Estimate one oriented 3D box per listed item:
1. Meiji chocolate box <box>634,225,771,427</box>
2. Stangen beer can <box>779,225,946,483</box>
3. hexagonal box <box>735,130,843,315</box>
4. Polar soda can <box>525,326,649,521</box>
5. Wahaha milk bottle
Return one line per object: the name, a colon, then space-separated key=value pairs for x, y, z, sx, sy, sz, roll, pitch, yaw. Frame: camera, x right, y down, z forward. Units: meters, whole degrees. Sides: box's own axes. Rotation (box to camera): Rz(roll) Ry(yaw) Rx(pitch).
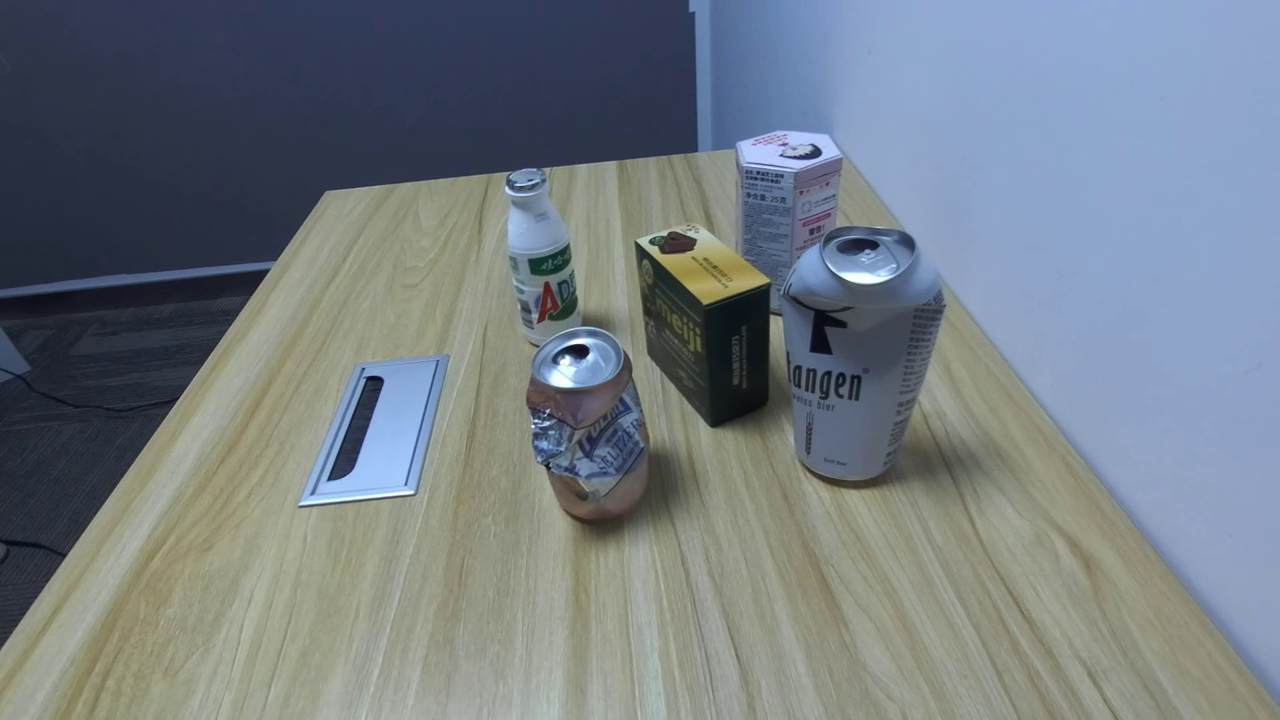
Meiji chocolate box: x=0.047 y=-0.028 z=0.525 sx=0.056 sy=0.109 sz=0.109 roll=-20 pitch=40 yaw=-17
Stangen beer can: x=0.131 y=0.000 z=0.433 sx=0.077 sy=0.162 sz=0.065 roll=-17 pitch=38 yaw=-13
hexagonal box: x=0.122 y=-0.116 z=0.605 sx=0.091 sy=0.136 sz=0.083 roll=-23 pitch=41 yaw=-23
Polar soda can: x=-0.030 y=0.043 z=0.441 sx=0.070 sy=0.114 sz=0.074 roll=-14 pitch=35 yaw=-2
Wahaha milk bottle: x=-0.081 y=-0.077 z=0.581 sx=0.053 sy=0.137 sz=0.053 roll=-3 pitch=38 yaw=2
